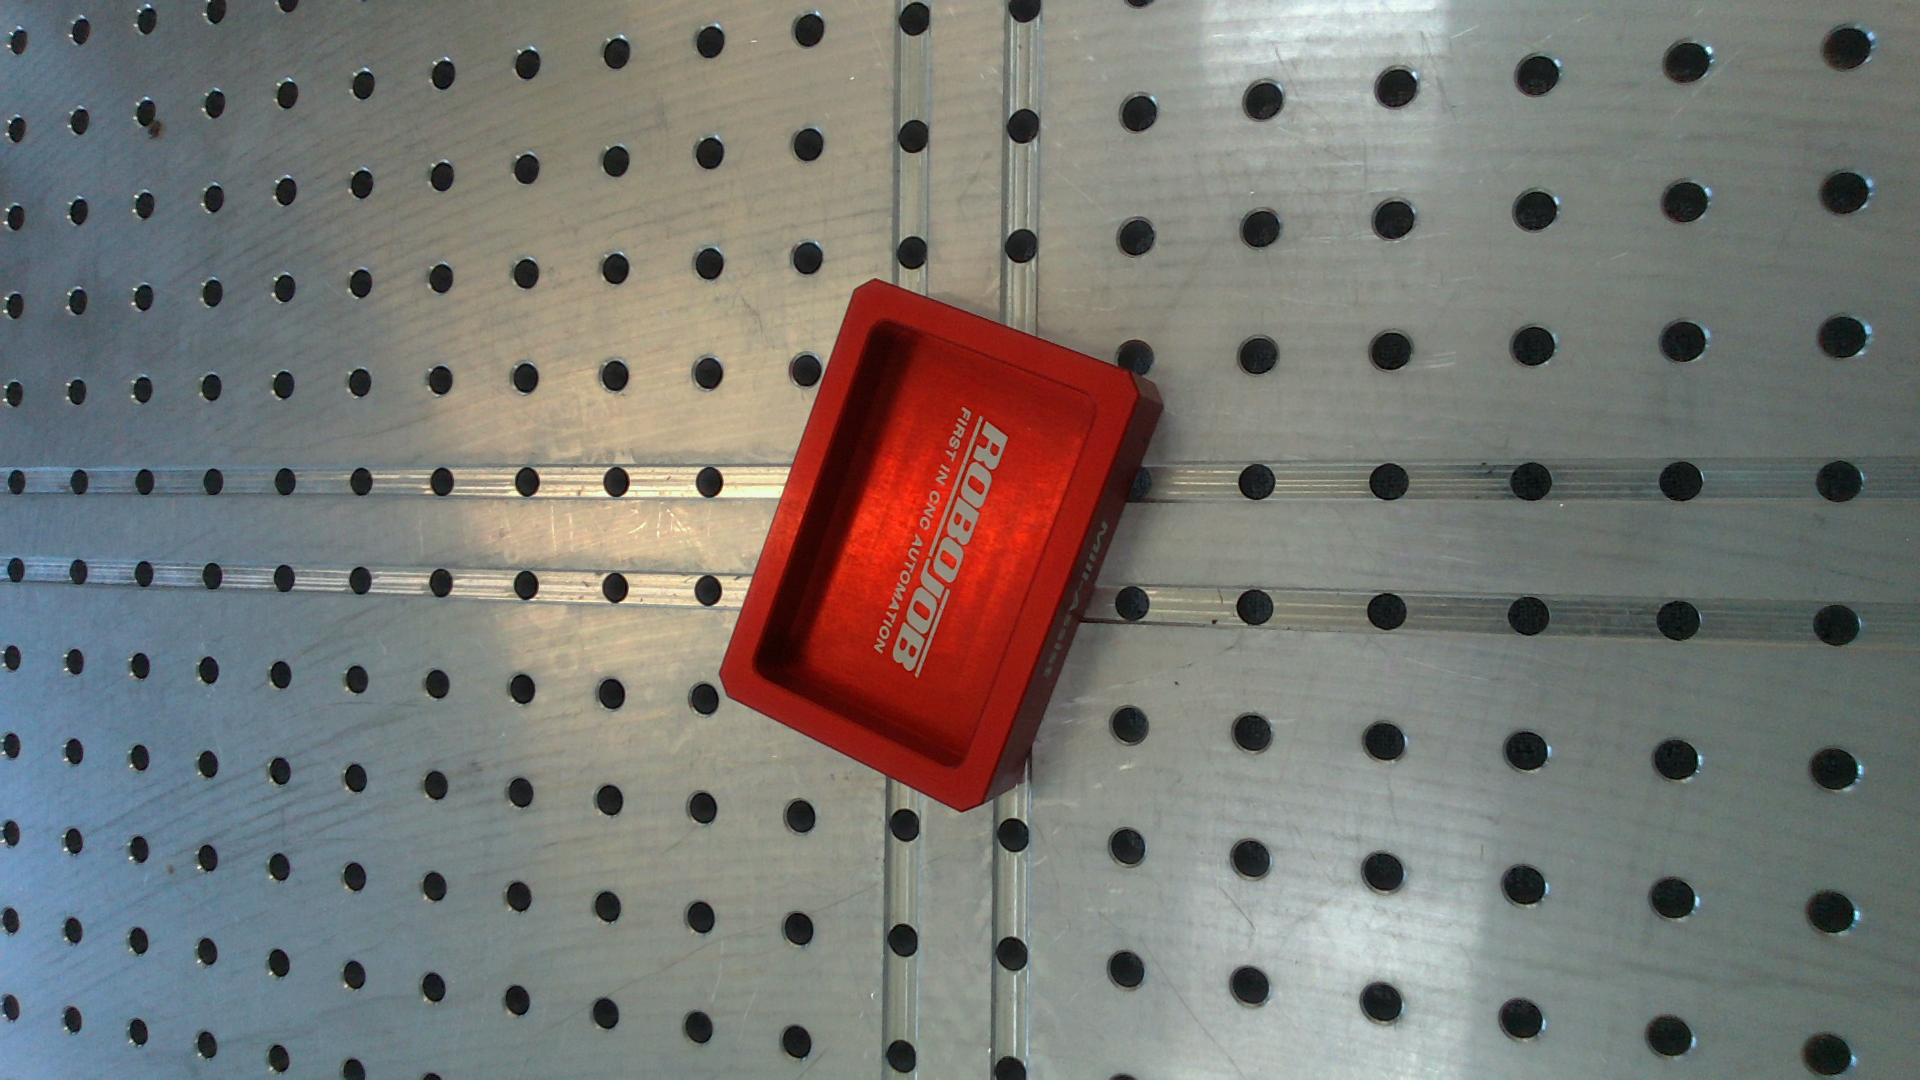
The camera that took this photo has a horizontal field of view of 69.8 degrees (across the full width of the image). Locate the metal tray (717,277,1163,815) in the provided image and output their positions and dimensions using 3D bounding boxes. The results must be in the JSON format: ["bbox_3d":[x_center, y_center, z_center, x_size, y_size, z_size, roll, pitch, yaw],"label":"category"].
[{"bbox_3d":[-0.007,0.001,0.398,0.090,0.030,0.130,23,98,18],"label":"metal tray"}]
